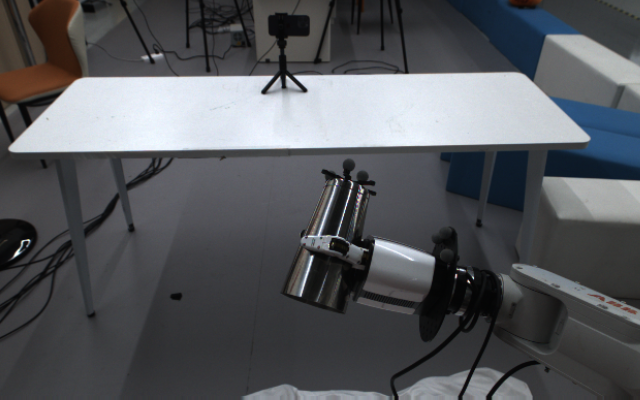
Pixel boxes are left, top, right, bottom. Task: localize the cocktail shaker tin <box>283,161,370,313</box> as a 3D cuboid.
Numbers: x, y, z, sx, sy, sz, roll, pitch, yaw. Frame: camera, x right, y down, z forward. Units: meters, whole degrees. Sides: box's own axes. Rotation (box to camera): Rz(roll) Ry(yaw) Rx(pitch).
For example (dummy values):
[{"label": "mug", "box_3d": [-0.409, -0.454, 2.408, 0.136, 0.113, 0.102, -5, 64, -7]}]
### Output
[{"label": "cocktail shaker tin", "box_3d": [0.013, 0.060, 0.667, 0.093, 0.093, 0.170, 14, 73, 17]}]
